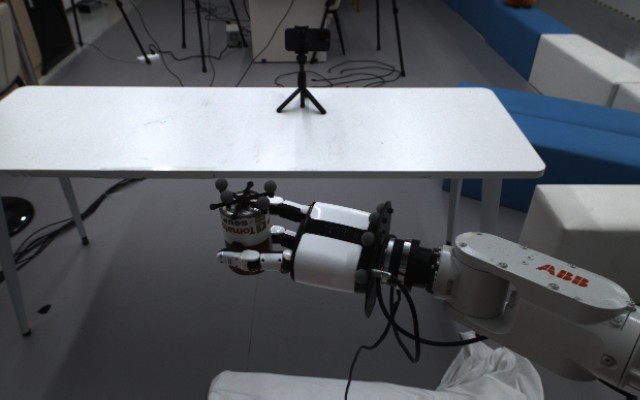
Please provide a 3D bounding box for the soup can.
[{"bbox_3d":[-0.100,0.046,0.681,0.067,0.101,0.067,-2,33,1],"label":"soup can"}]
